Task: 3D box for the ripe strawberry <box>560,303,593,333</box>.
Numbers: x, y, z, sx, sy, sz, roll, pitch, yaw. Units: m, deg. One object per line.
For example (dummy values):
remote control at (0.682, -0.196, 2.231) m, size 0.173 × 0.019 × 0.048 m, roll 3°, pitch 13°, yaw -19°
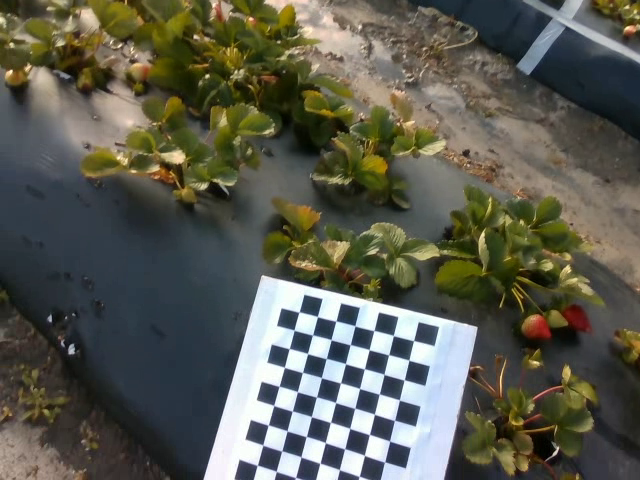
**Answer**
ripe strawberry at (0.431, 0.136, 1.014) m, size 0.048 × 0.065 × 0.050 m, roll -36°, pitch -23°, yaw 2°
